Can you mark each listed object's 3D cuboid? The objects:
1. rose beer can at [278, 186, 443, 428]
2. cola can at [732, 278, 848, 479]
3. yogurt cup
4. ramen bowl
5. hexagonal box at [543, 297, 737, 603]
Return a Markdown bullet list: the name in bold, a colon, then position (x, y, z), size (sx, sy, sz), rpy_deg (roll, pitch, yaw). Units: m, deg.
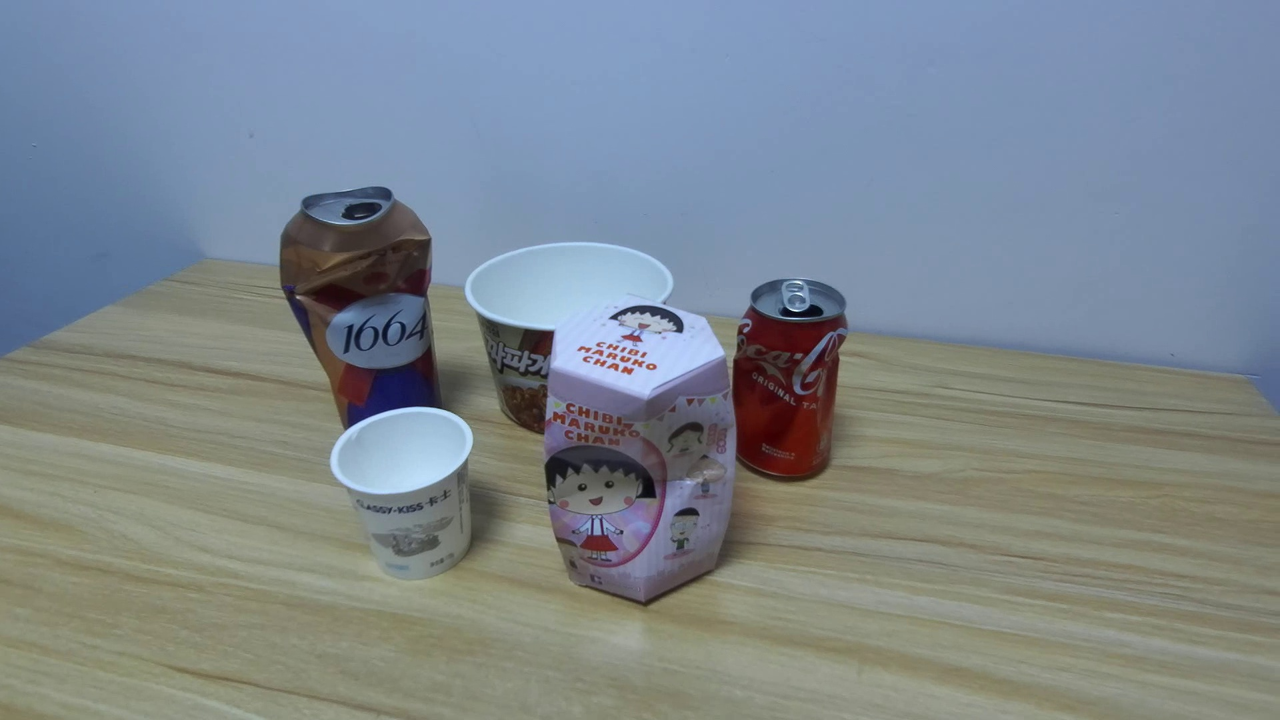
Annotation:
- **rose beer can**: position (-0.171, -0.026, 0.453), size (0.068, 0.162, 0.074), rpy_deg (13, 35, 20)
- **cola can**: position (0.092, 0.011, 0.439), size (0.066, 0.117, 0.066), rpy_deg (24, 40, 34)
- **yogurt cup**: position (-0.120, 0.073, 0.377), size (0.072, 0.068, 0.072), rpy_deg (0, 31, 0)
- **ramen bowl**: position (-0.050, -0.013, 0.511), size (0.140, 0.095, 0.140), rpy_deg (1, 29, 0)
- **hexagonal box**: position (-0.004, 0.046, 0.361), size (0.089, 0.135, 0.093), rpy_deg (-6, 32, -10)
